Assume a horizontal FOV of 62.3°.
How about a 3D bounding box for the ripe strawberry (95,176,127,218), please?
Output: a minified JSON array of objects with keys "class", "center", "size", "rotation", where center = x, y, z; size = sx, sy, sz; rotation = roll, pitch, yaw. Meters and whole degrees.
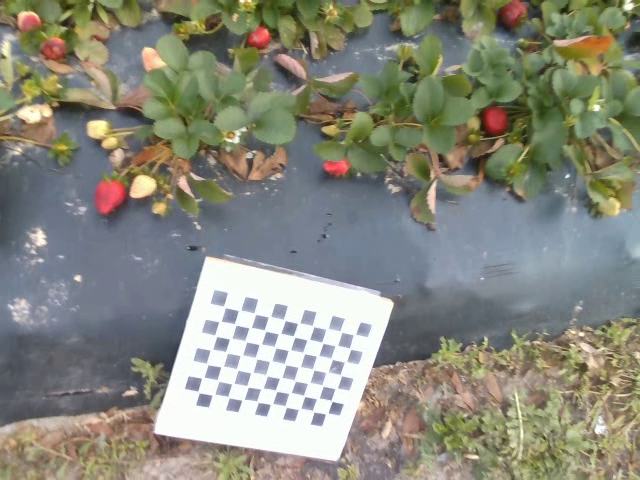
[{"class":"ripe strawberry","center":[-0.294,-0.060,0.730],"size":[0.050,0.059,0.034],"rotation":[3,-35,-9]}]
